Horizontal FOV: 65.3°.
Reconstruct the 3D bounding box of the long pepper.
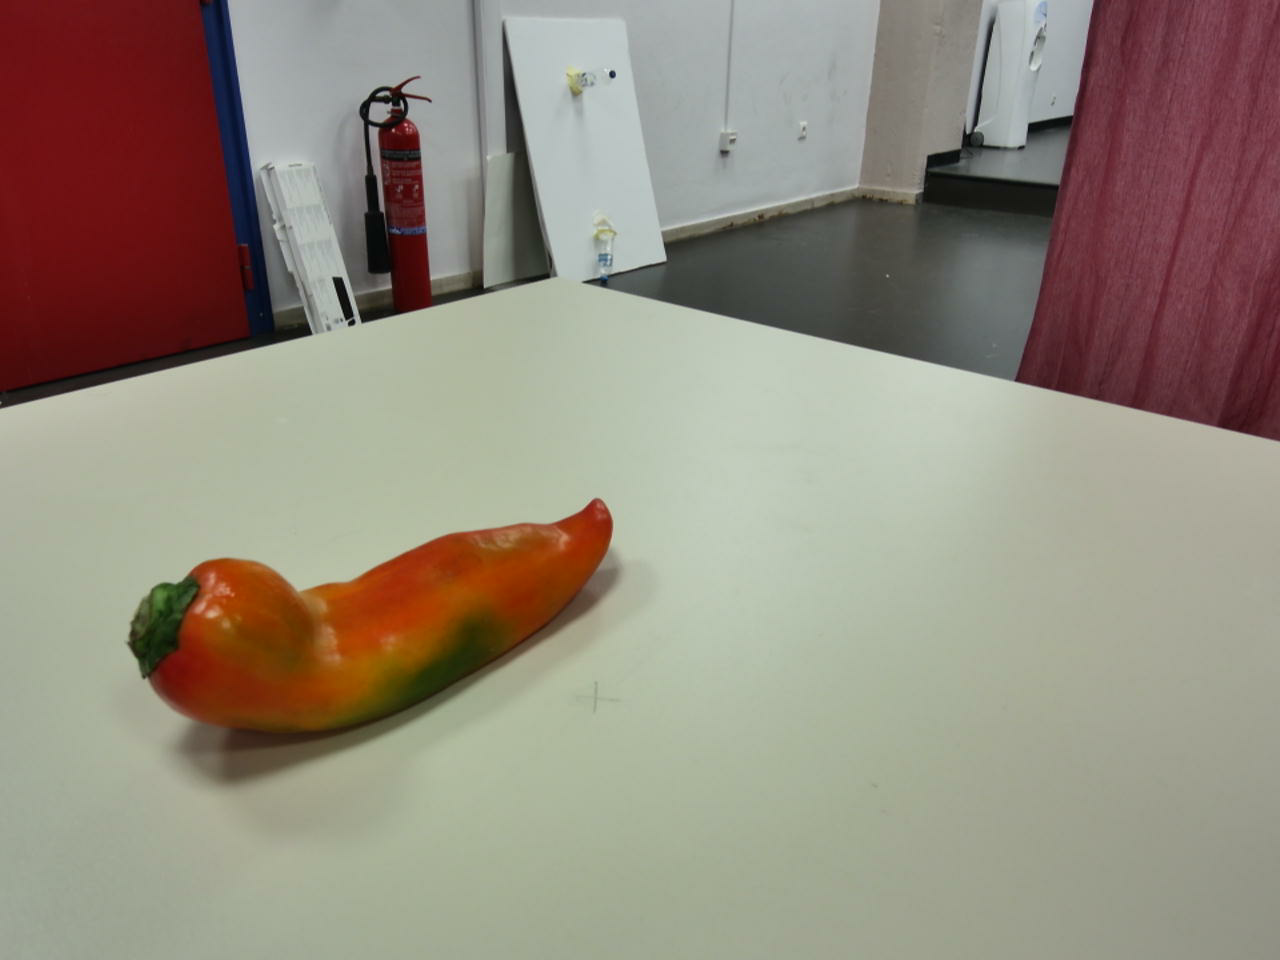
[{"bbox_3d":[-0.081,0.036,0.369,0.066,0.065,0.199,20,30,40],"label":"long pepper"}]
